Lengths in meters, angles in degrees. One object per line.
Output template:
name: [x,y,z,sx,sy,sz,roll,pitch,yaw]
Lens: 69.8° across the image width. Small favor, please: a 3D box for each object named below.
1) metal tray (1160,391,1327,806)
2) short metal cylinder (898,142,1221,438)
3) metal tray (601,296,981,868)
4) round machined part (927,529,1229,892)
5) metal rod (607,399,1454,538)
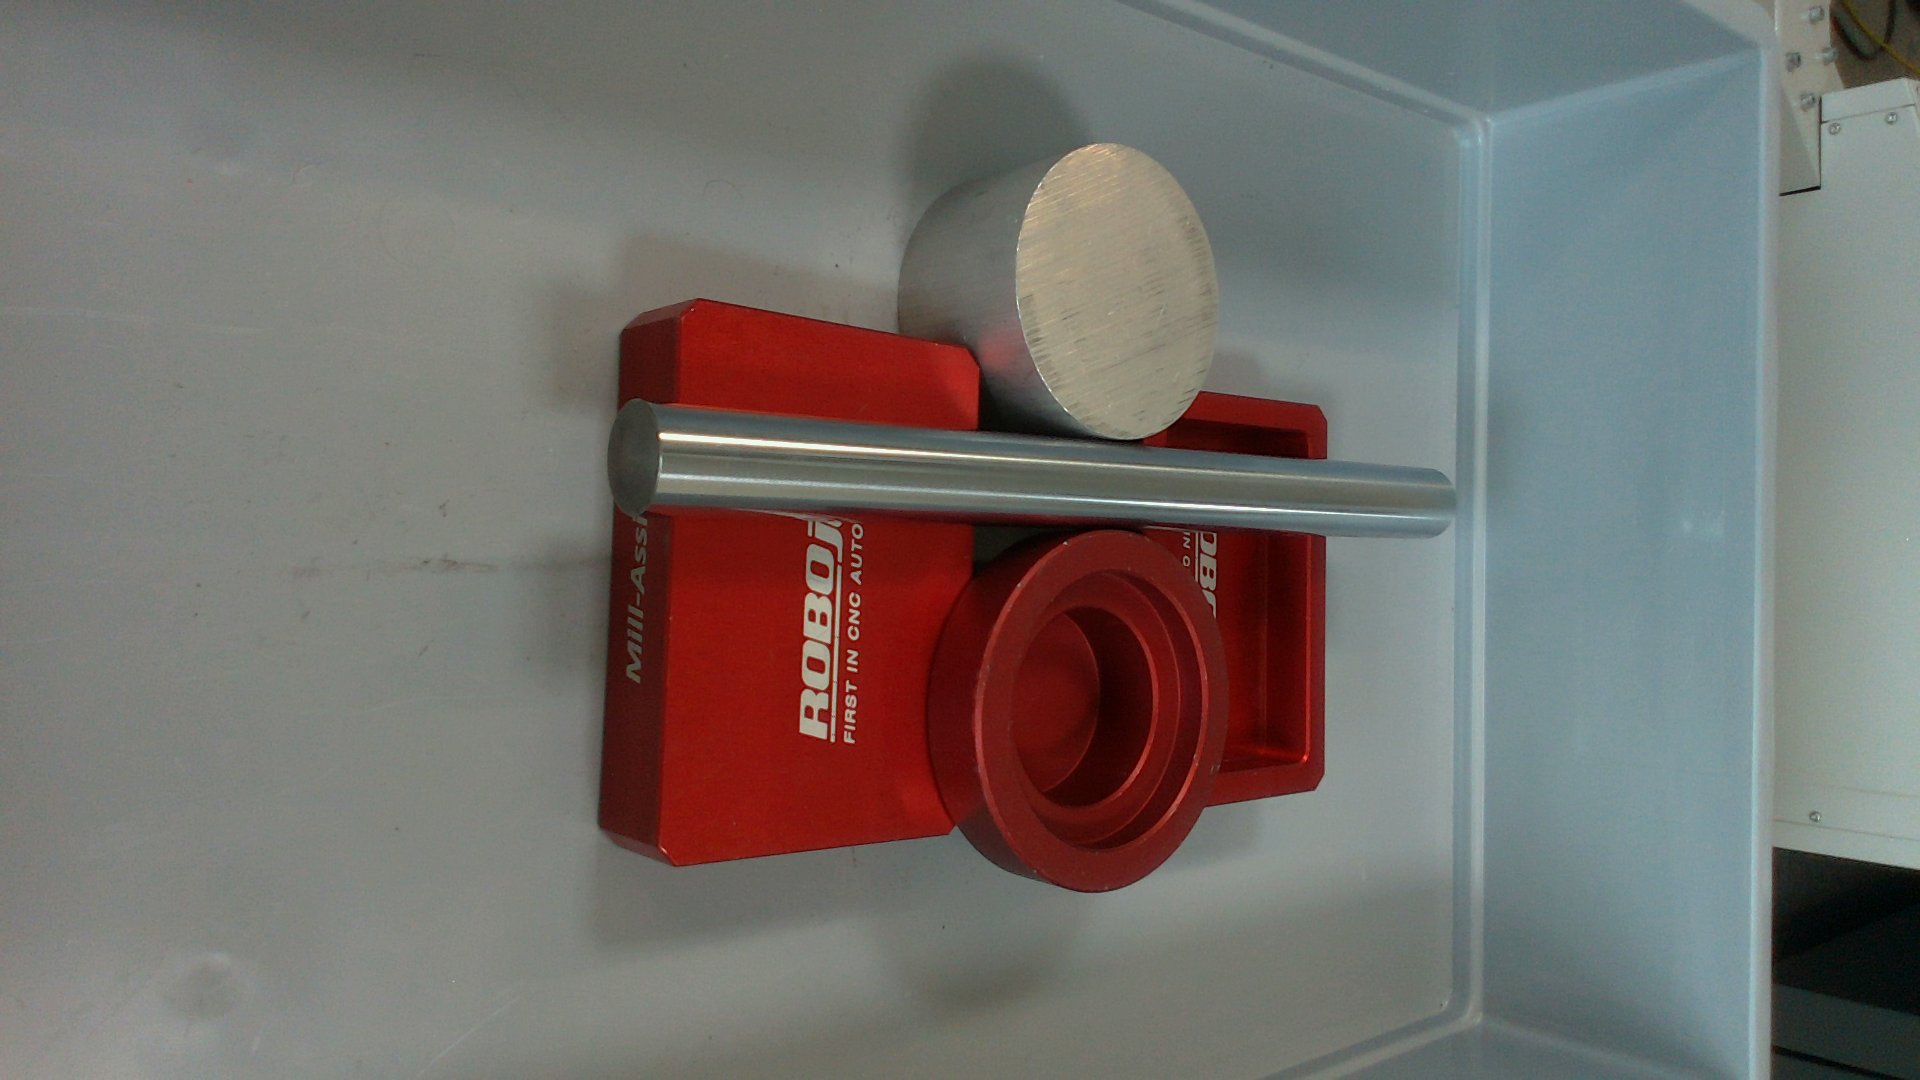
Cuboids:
metal tray: [0.081,0.019,0.451,0.090,0.030,0.130,1,89,-40]
short metal cylinder: [0.029,-0.068,0.395,0.080,0.050,0.080,0,90,-40]
metal tray: [-0.040,0.011,0.349,0.090,0.030,0.130,4,88,-40]
round machined part: [0.029,0.046,0.388,0.098,0.042,0.098,0,90,-40]
metal rod: [0.047,-0.015,0.386,0.301,0.025,0.025,1,89,-40]
